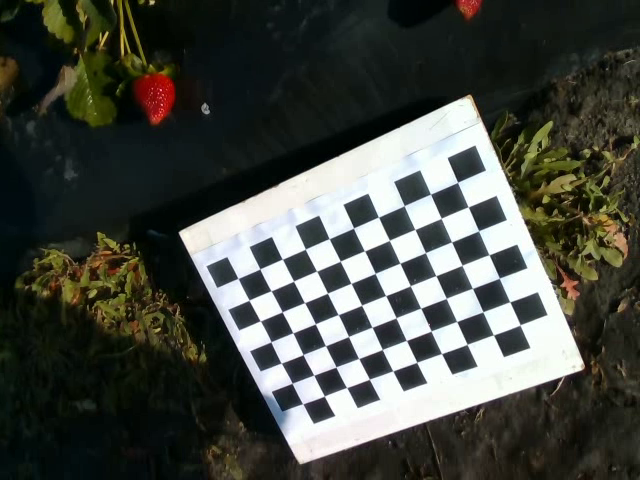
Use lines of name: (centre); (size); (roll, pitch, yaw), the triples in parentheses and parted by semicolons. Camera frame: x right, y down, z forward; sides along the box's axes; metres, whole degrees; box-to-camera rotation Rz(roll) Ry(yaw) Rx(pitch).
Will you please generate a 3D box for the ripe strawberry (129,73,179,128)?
ripe strawberry: (-0.138, -0.122, 0.430); (0.046, 0.055, 0.041); (-16, -20, 4)
